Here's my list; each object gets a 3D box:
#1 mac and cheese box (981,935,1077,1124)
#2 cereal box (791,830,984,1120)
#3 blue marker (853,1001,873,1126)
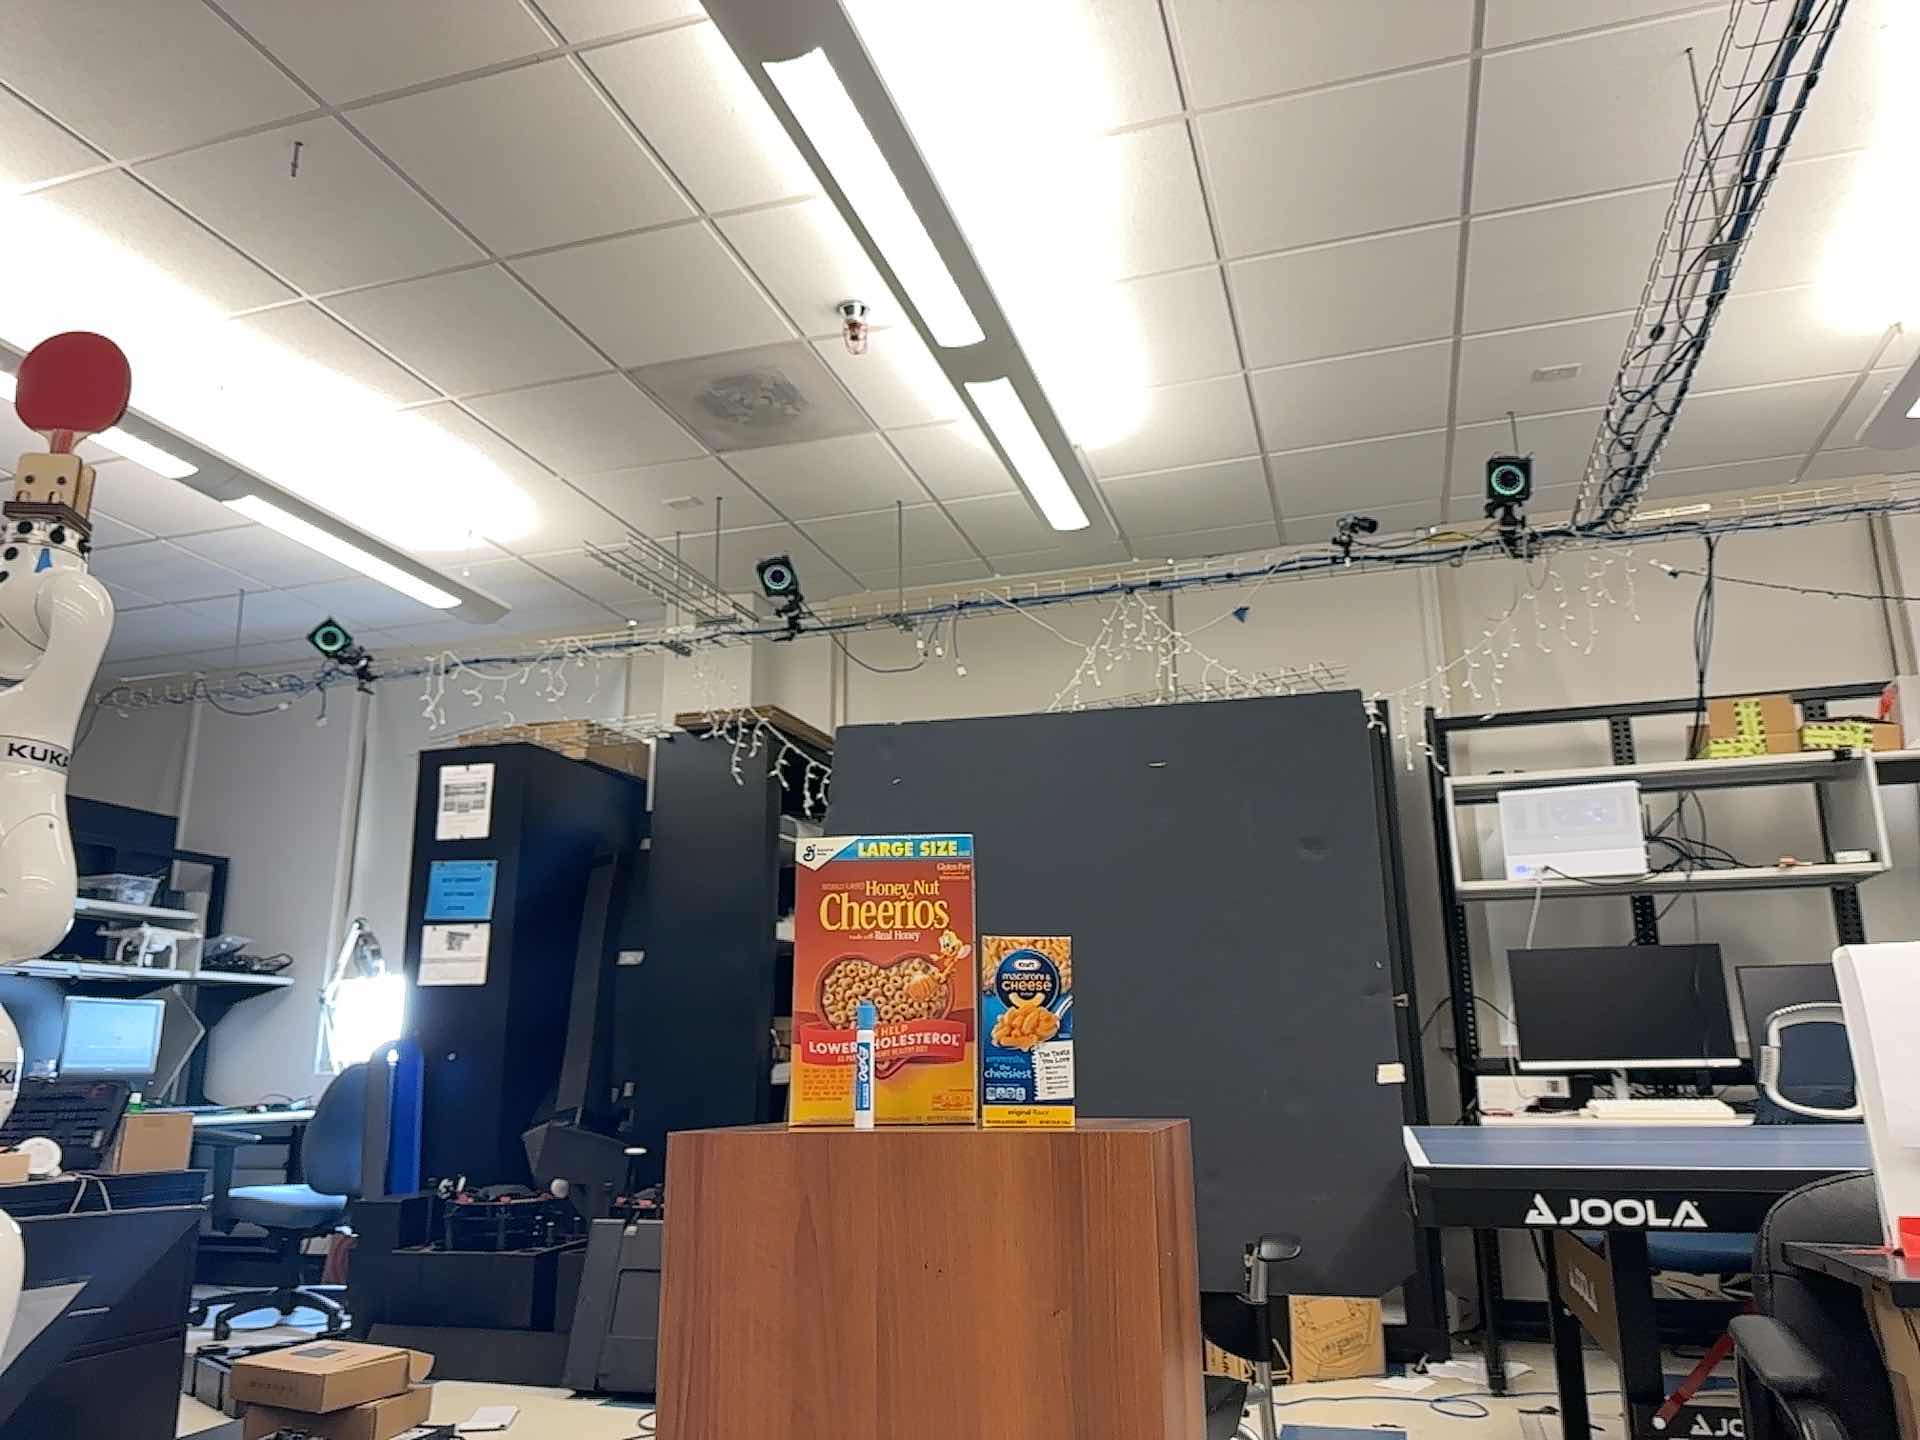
[{"bbox_3d":[0.069,0.309,1.355,0.088,0.181,0.035,-3,-15,11],"label":"mac and cheese box"},{"bbox_3d":[-0.077,0.275,1.470,0.195,0.297,0.065,-1,-14,5],"label":"cereal box"},{"bbox_3d":[-0.098,0.343,1.352,0.020,0.121,0.020,-1,-13,0],"label":"blue marker"}]
